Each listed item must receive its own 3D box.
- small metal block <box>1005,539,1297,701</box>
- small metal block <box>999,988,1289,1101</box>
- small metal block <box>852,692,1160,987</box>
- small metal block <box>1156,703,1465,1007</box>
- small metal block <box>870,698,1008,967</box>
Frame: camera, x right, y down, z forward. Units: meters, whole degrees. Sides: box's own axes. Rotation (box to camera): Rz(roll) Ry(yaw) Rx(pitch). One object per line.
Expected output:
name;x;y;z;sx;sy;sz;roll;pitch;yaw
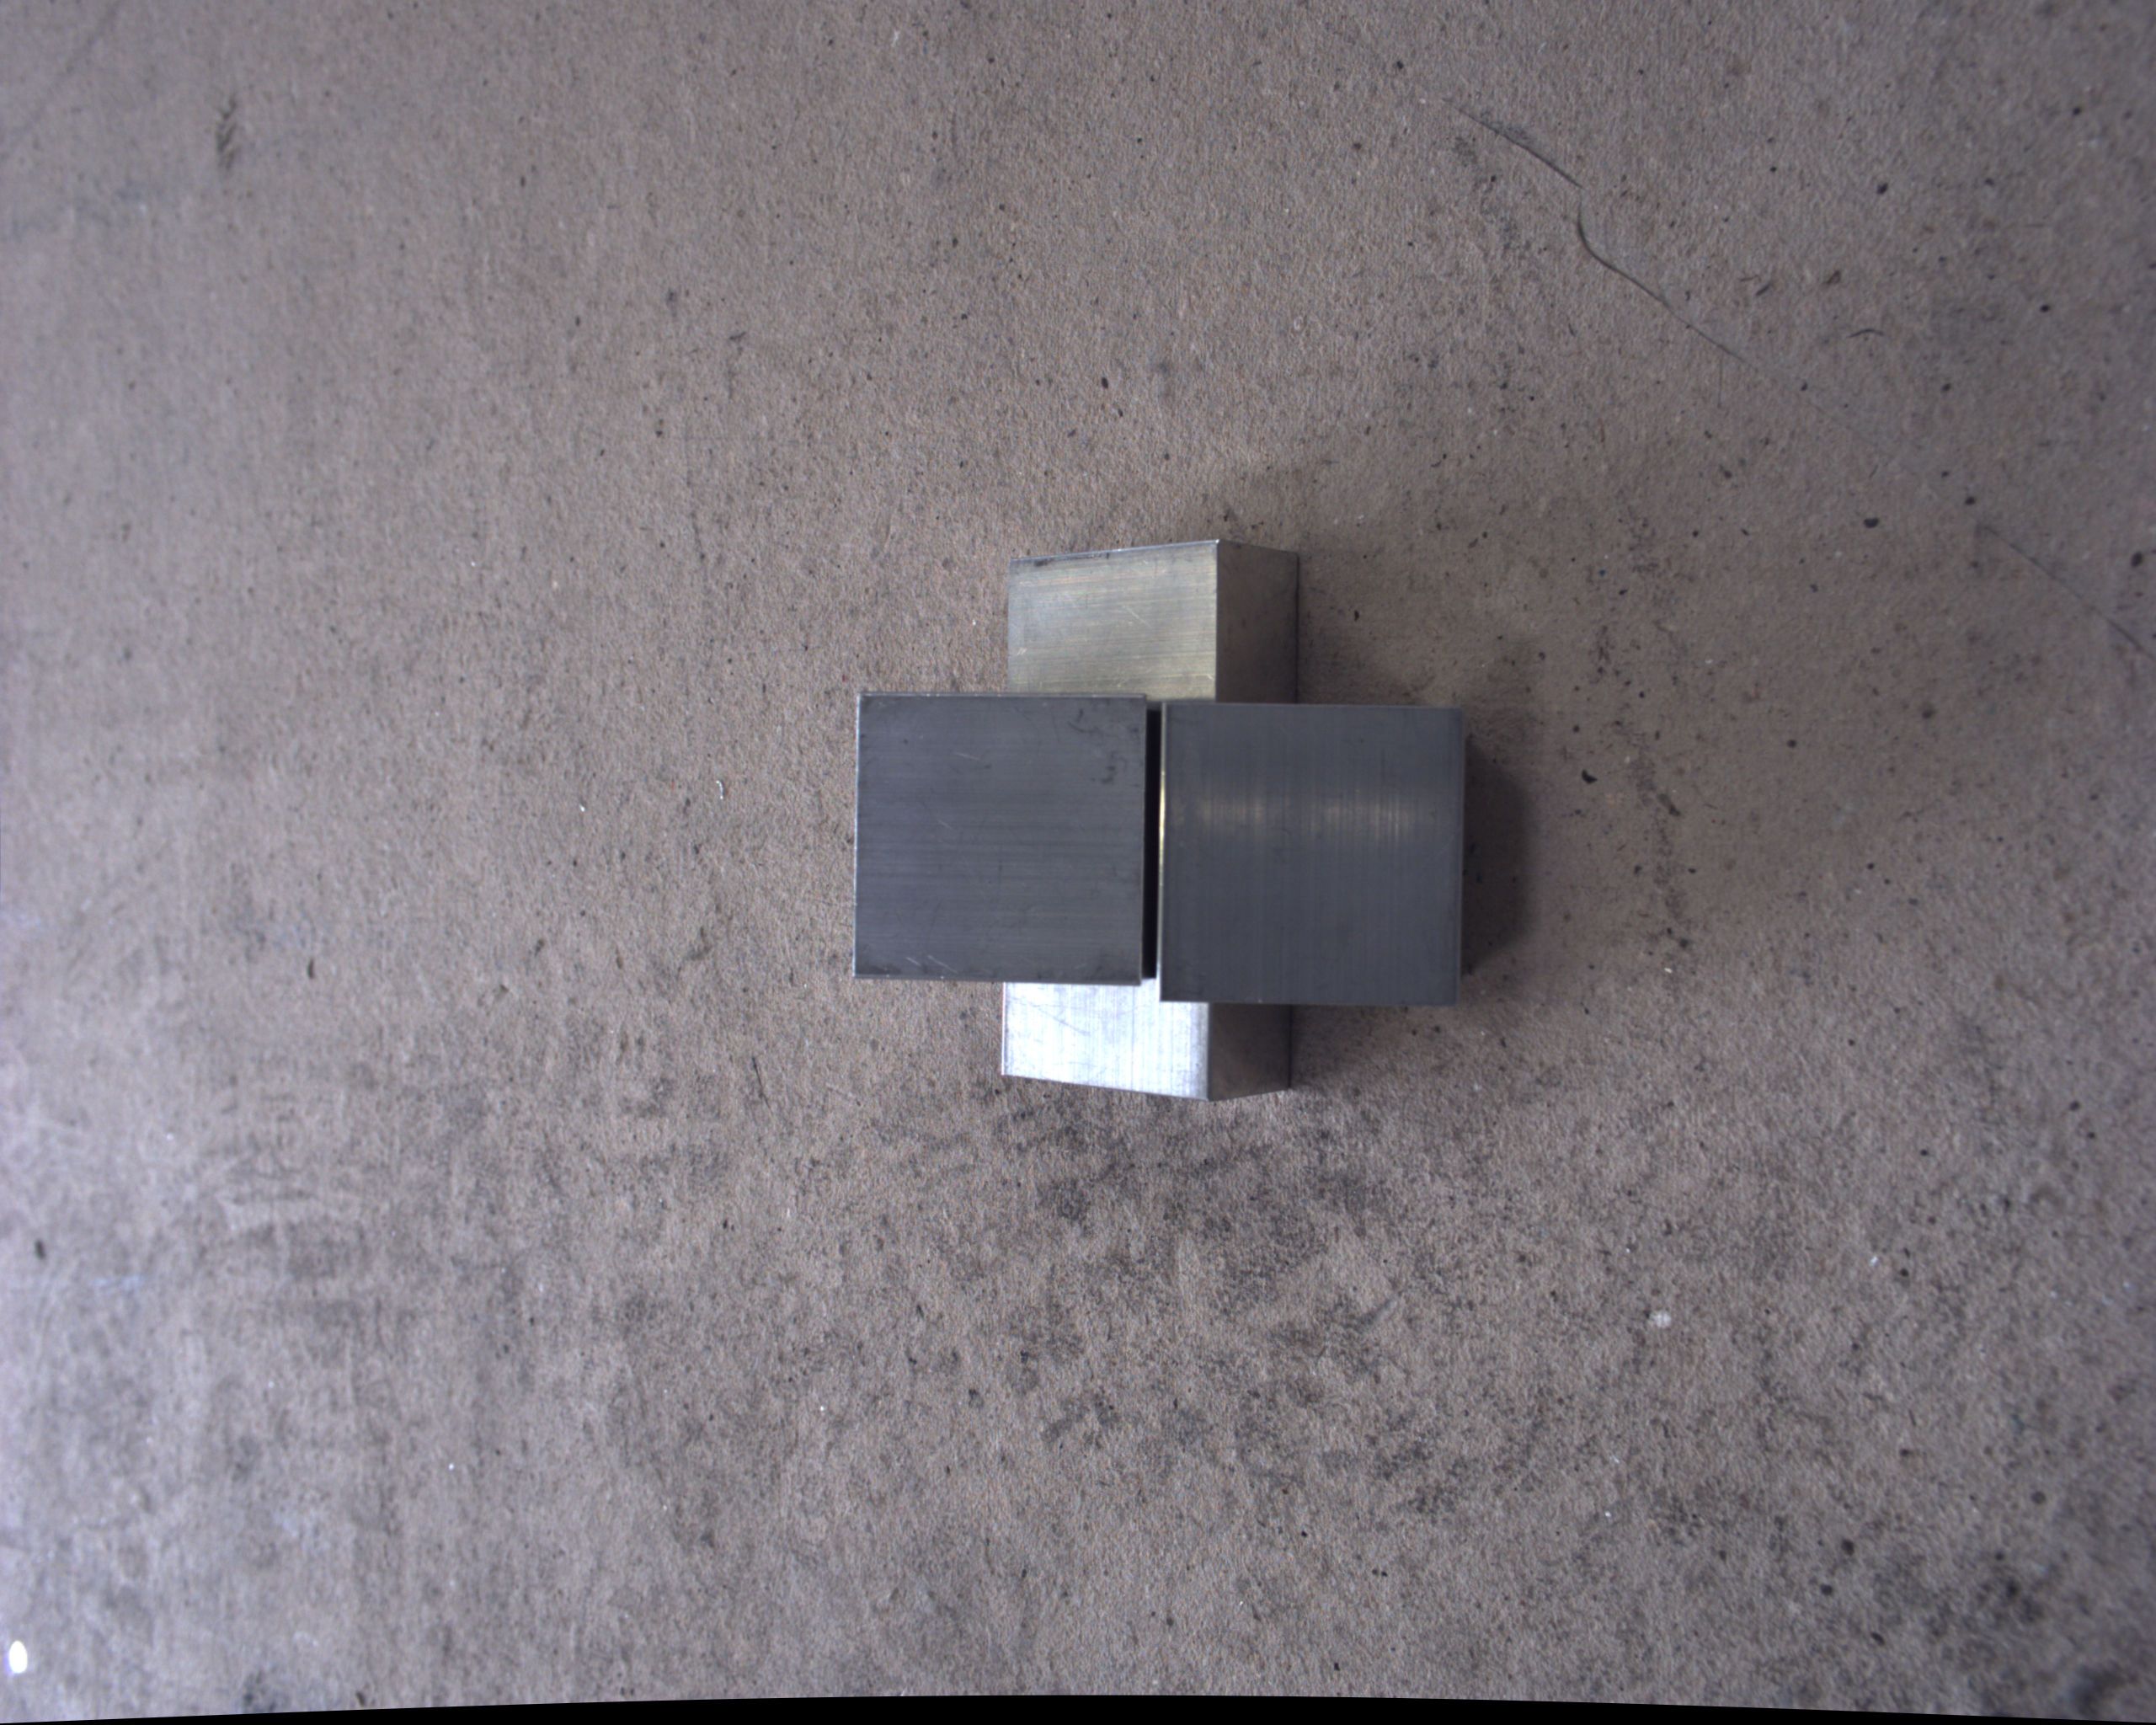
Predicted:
small metal block;0.013;-0.033;0.395;0.050;0.025;0.050;1;91;40
small metal block;0.012;0.017;0.396;0.050;0.025;0.050;1;91;40
small metal block;-0.012;-0.004;0.369;0.050;0.025;0.050;1;91;9
small metal block;0.039;-0.002;0.358;0.050;0.025;0.050;1;91;0
small metal block;-0.027;-0.006;0.411;0.025;0.050;0.050;0;91;-2
